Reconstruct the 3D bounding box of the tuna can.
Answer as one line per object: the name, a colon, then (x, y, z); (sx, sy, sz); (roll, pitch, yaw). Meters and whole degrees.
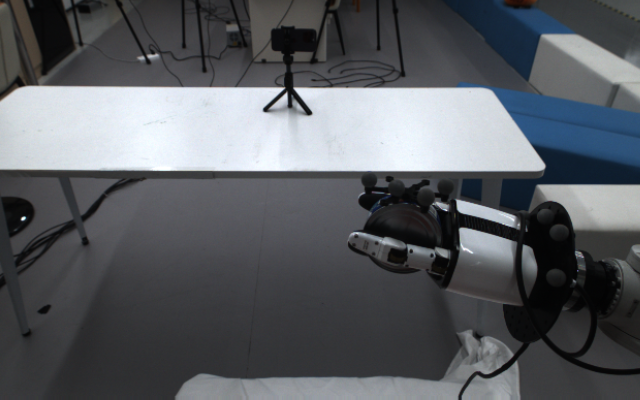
tuna can: (0.093, 0.034, 0.535); (0.085, 0.085, 0.034); (9, 24, 10)
